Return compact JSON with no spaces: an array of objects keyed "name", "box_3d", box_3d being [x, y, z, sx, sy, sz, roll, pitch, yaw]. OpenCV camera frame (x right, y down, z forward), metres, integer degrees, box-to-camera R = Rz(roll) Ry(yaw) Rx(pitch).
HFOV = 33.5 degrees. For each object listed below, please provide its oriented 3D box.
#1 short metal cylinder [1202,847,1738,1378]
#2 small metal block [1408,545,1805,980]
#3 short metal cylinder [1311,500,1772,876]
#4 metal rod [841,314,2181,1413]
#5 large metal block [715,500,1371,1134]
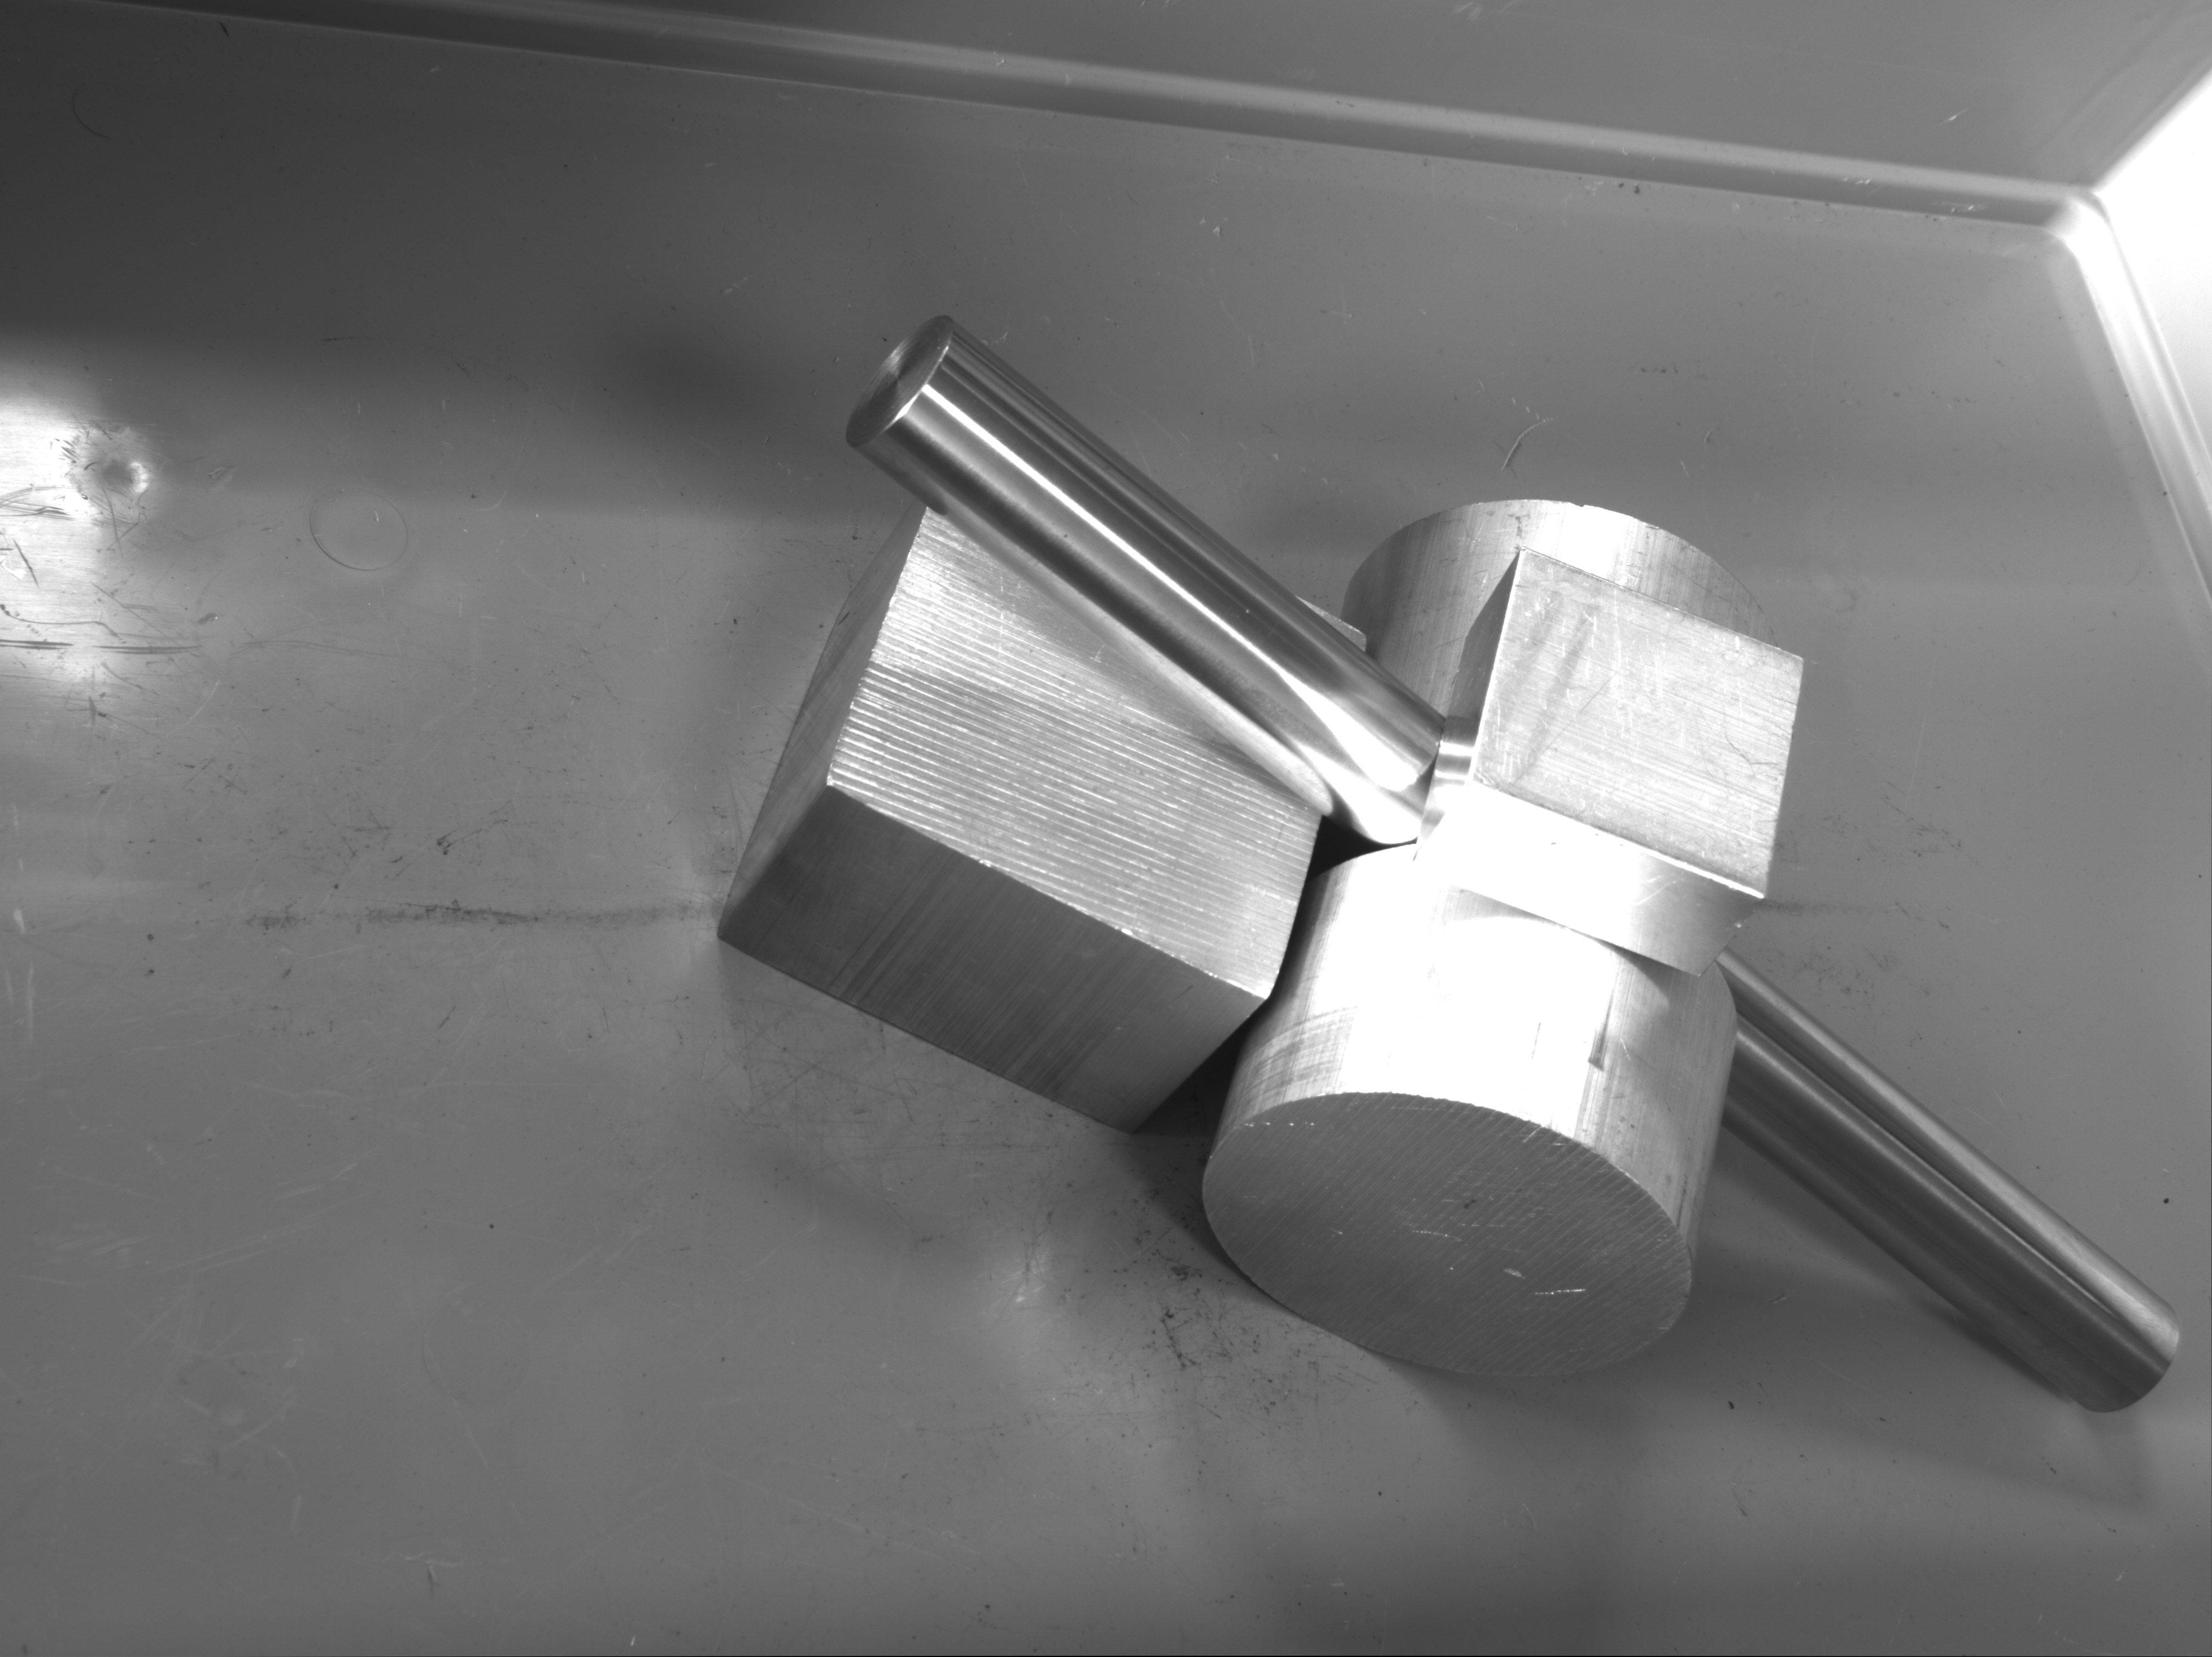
[{"name":"short metal cylinder","box_3d":[0.061,0.048,0.606,0.080,0.080,0.050,27,52,-11]},{"name":"small metal block","box_3d":[0.080,-0.011,0.586,0.050,0.025,0.050,21,53,-5]},{"name":"short metal cylinder","box_3d":[0.076,-0.012,0.652,0.080,0.080,0.050,25,53,-13]},{"name":"metal rod","box_3d":[0.078,0.014,0.621,0.301,0.025,0.025,37,49,-23]},{"name":"large metal block","box_3d":[-0.010,-0.008,0.619,0.080,0.050,0.080,26,52,-12]}]
